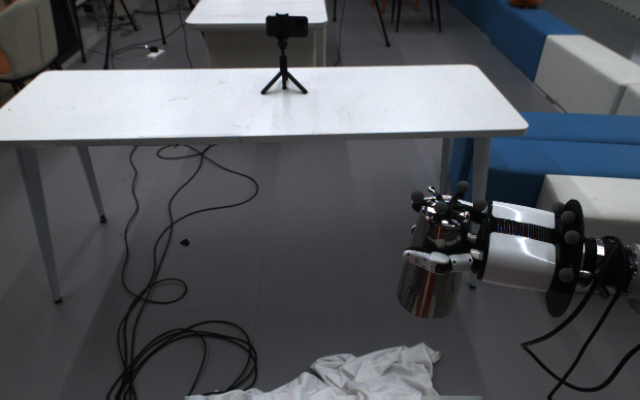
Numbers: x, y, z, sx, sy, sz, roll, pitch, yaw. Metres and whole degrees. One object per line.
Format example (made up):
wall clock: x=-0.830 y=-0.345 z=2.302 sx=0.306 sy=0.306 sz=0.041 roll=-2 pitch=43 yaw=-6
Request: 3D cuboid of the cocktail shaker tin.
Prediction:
cocktail shaker tin: x=0.171 y=0.077 z=0.702 sx=0.093 sy=0.170 sz=0.093 roll=1 pitch=39 yaw=-1
